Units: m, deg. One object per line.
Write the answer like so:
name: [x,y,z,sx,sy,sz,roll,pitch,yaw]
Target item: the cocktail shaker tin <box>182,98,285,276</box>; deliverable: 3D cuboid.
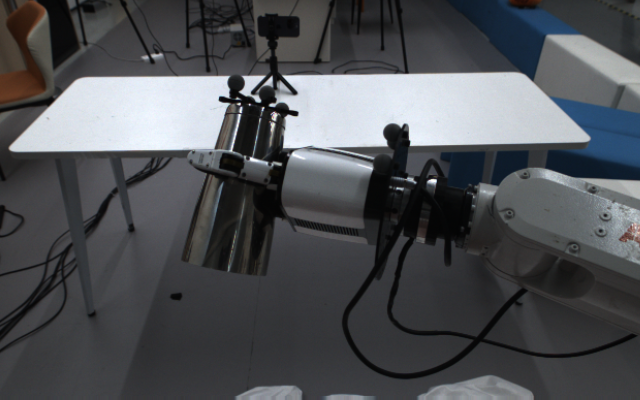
cocktail shaker tin: [-0.083,-0.011,0.520,0.093,0.170,0.093,11,-5,1]
